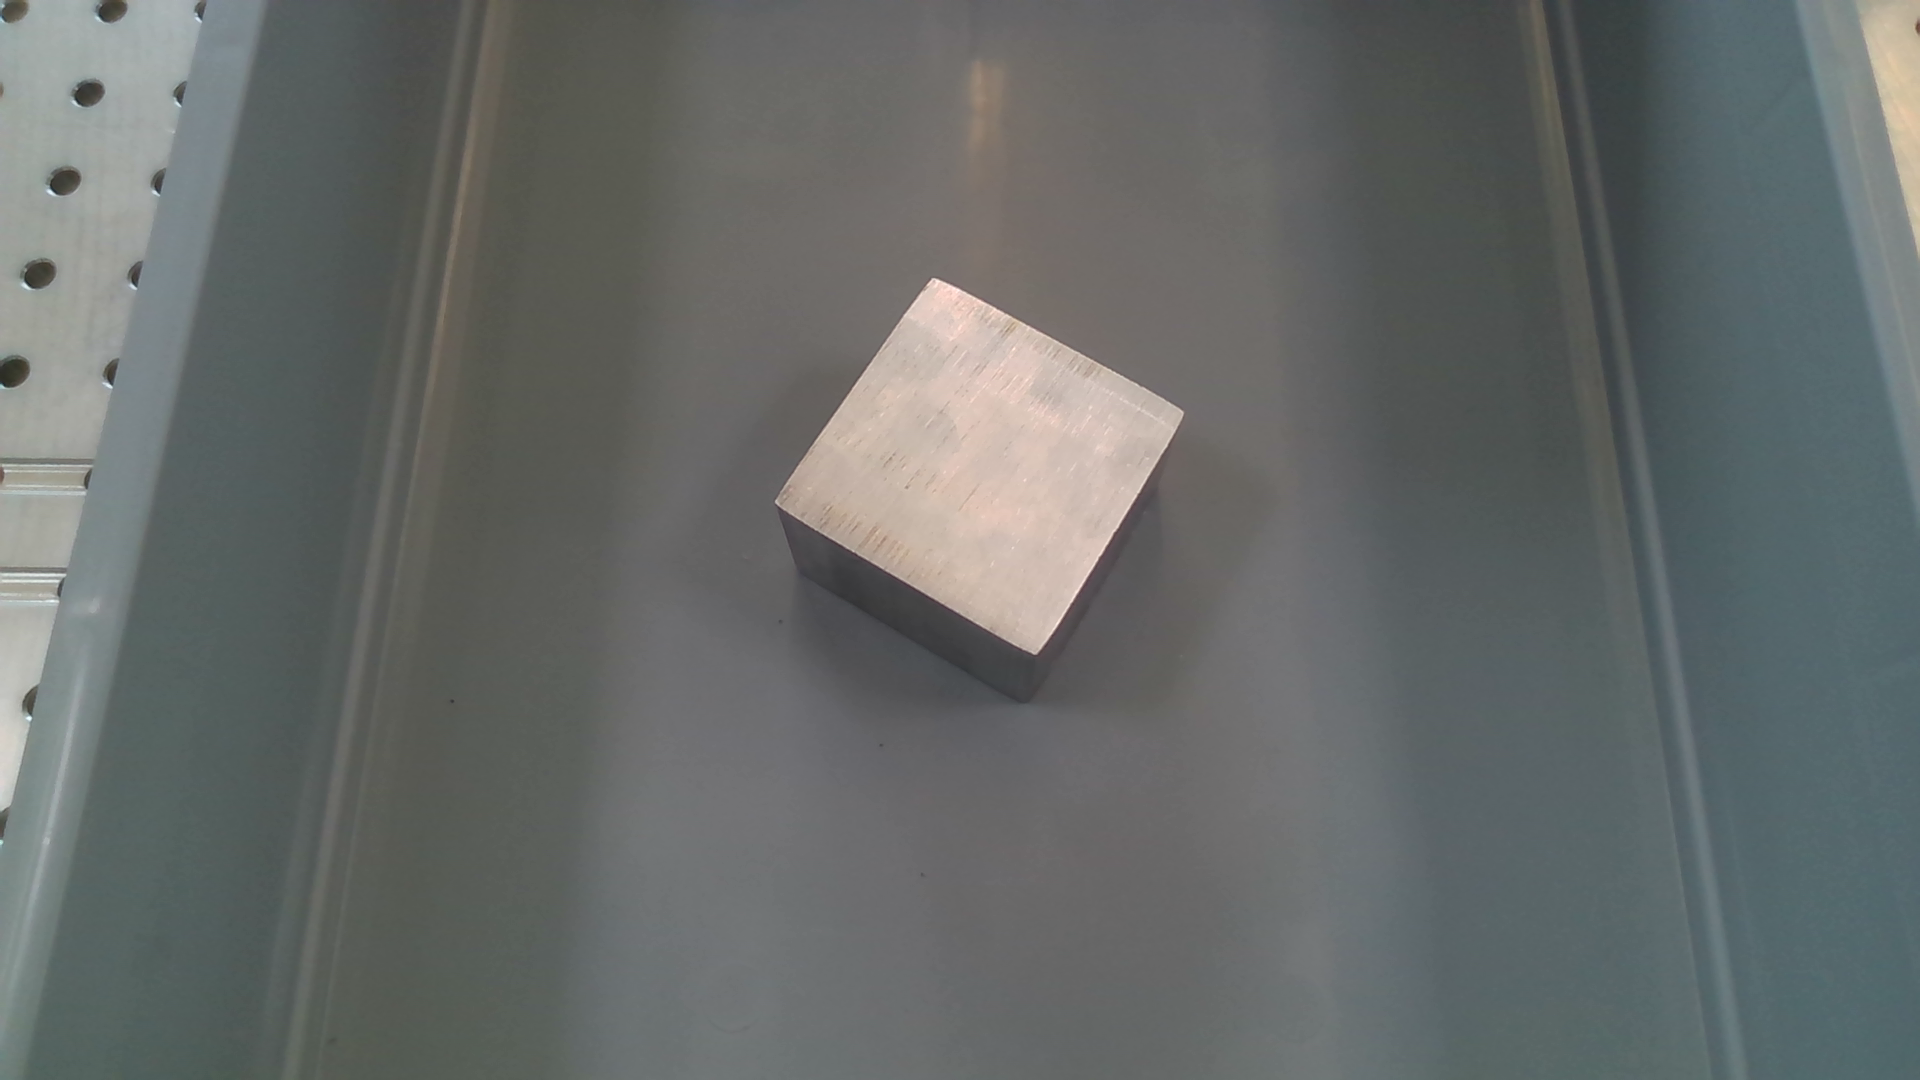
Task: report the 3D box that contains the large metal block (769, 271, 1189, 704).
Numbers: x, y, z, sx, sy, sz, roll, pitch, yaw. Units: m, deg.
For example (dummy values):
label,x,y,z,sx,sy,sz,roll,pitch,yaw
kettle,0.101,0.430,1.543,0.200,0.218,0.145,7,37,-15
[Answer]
label,x,y,z,sx,sy,sz,roll,pitch,yaw
large metal block,0.006,-0.014,0.384,0.080,0.050,0.080,30,73,10
